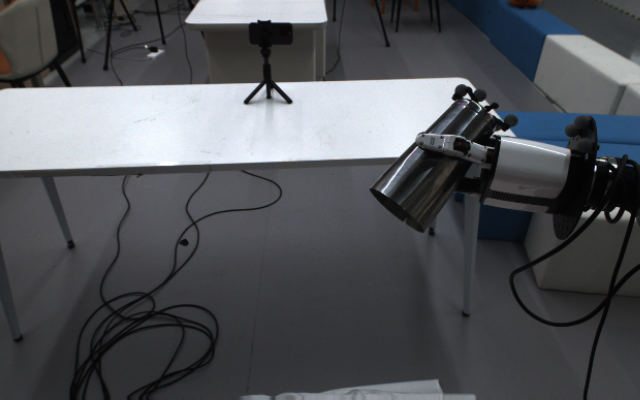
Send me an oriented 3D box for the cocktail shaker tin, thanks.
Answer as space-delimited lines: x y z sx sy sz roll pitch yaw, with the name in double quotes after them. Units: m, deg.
0.156 -0.055 0.647 0.170 0.093 0.093 -48 49 -4 "cocktail shaker tin"
